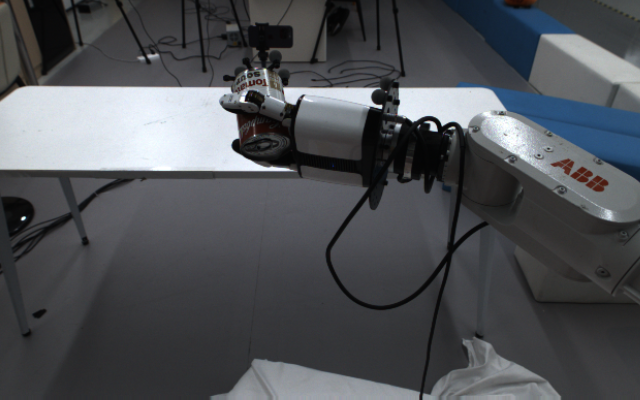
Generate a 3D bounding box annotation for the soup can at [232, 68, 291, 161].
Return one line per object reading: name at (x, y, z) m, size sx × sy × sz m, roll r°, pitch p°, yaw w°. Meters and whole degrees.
soup can at (-0.075, -0.110, 0.629) m, size 0.067 × 0.067 × 0.101 m, roll -6°, pitch 67°, yaw -12°
